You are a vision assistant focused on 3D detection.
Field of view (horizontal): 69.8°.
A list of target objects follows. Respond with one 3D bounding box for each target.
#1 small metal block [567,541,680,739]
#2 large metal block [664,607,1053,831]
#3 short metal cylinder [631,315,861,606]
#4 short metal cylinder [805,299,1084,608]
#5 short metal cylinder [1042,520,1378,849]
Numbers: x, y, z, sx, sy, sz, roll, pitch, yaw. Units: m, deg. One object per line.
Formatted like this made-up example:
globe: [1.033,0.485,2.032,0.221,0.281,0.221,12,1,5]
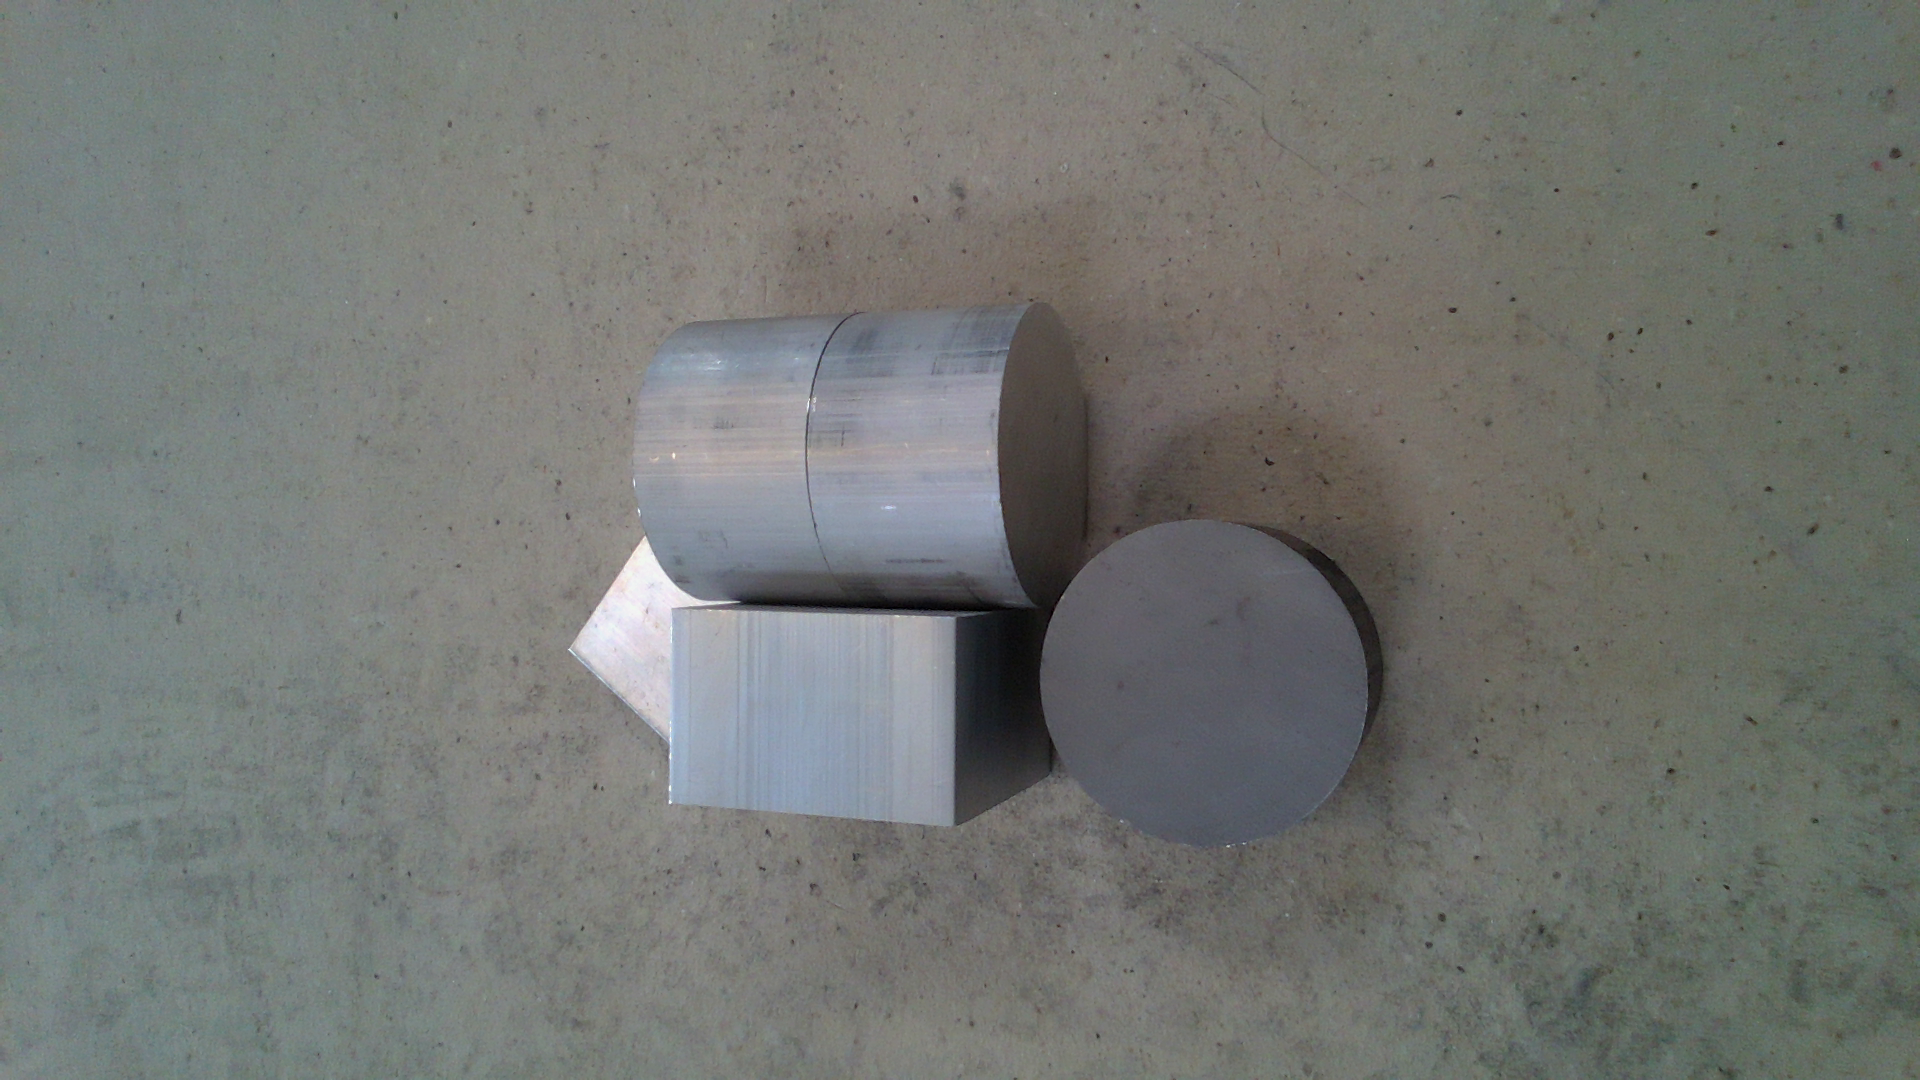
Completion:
small metal block: [-0.085,0.029,0.427,0.050,0.025,0.050,39,103,16]
large metal block: [-0.024,0.043,0.376,0.080,0.080,0.050,1,90,20]
short metal cylinder: [-0.048,-0.022,0.384,0.050,0.080,0.080,1,90,20]
short metal cylinder: [-0.001,-0.023,0.367,0.050,0.080,0.080,1,90,20]
short metal cylinder: [0.067,0.035,0.358,0.080,0.050,0.080,0,90,20]
